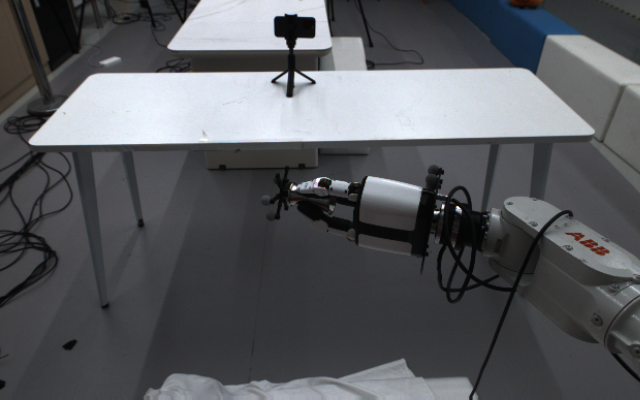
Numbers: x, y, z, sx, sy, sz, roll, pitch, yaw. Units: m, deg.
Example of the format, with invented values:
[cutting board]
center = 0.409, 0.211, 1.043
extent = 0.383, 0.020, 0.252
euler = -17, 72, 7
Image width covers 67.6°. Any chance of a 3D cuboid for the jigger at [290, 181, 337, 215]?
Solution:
[jigger]
center = -0.006, -0.008, 0.757
extent = 0.071, 0.043, 0.043
euler = 10, 35, 16
